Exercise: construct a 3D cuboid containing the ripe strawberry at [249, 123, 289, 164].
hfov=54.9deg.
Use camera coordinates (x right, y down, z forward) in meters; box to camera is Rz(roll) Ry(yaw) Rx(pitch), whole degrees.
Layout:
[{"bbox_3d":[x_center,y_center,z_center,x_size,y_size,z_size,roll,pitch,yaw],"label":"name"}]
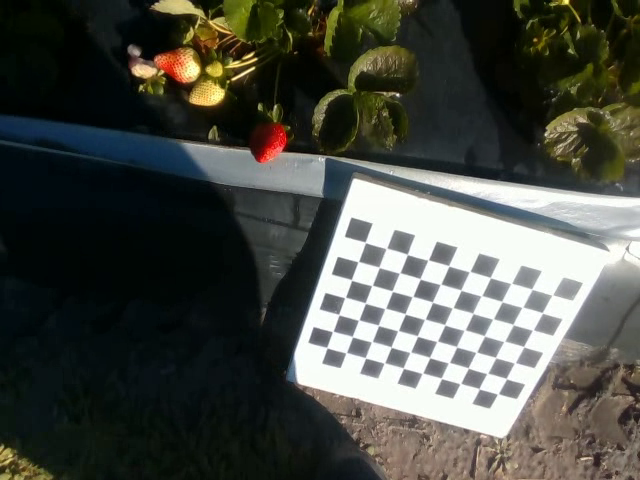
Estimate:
[{"bbox_3d":[-0.045,-0.078,0.493,0.036,0.038,0.046,15,39,-2],"label":"ripe strawberry"}]
